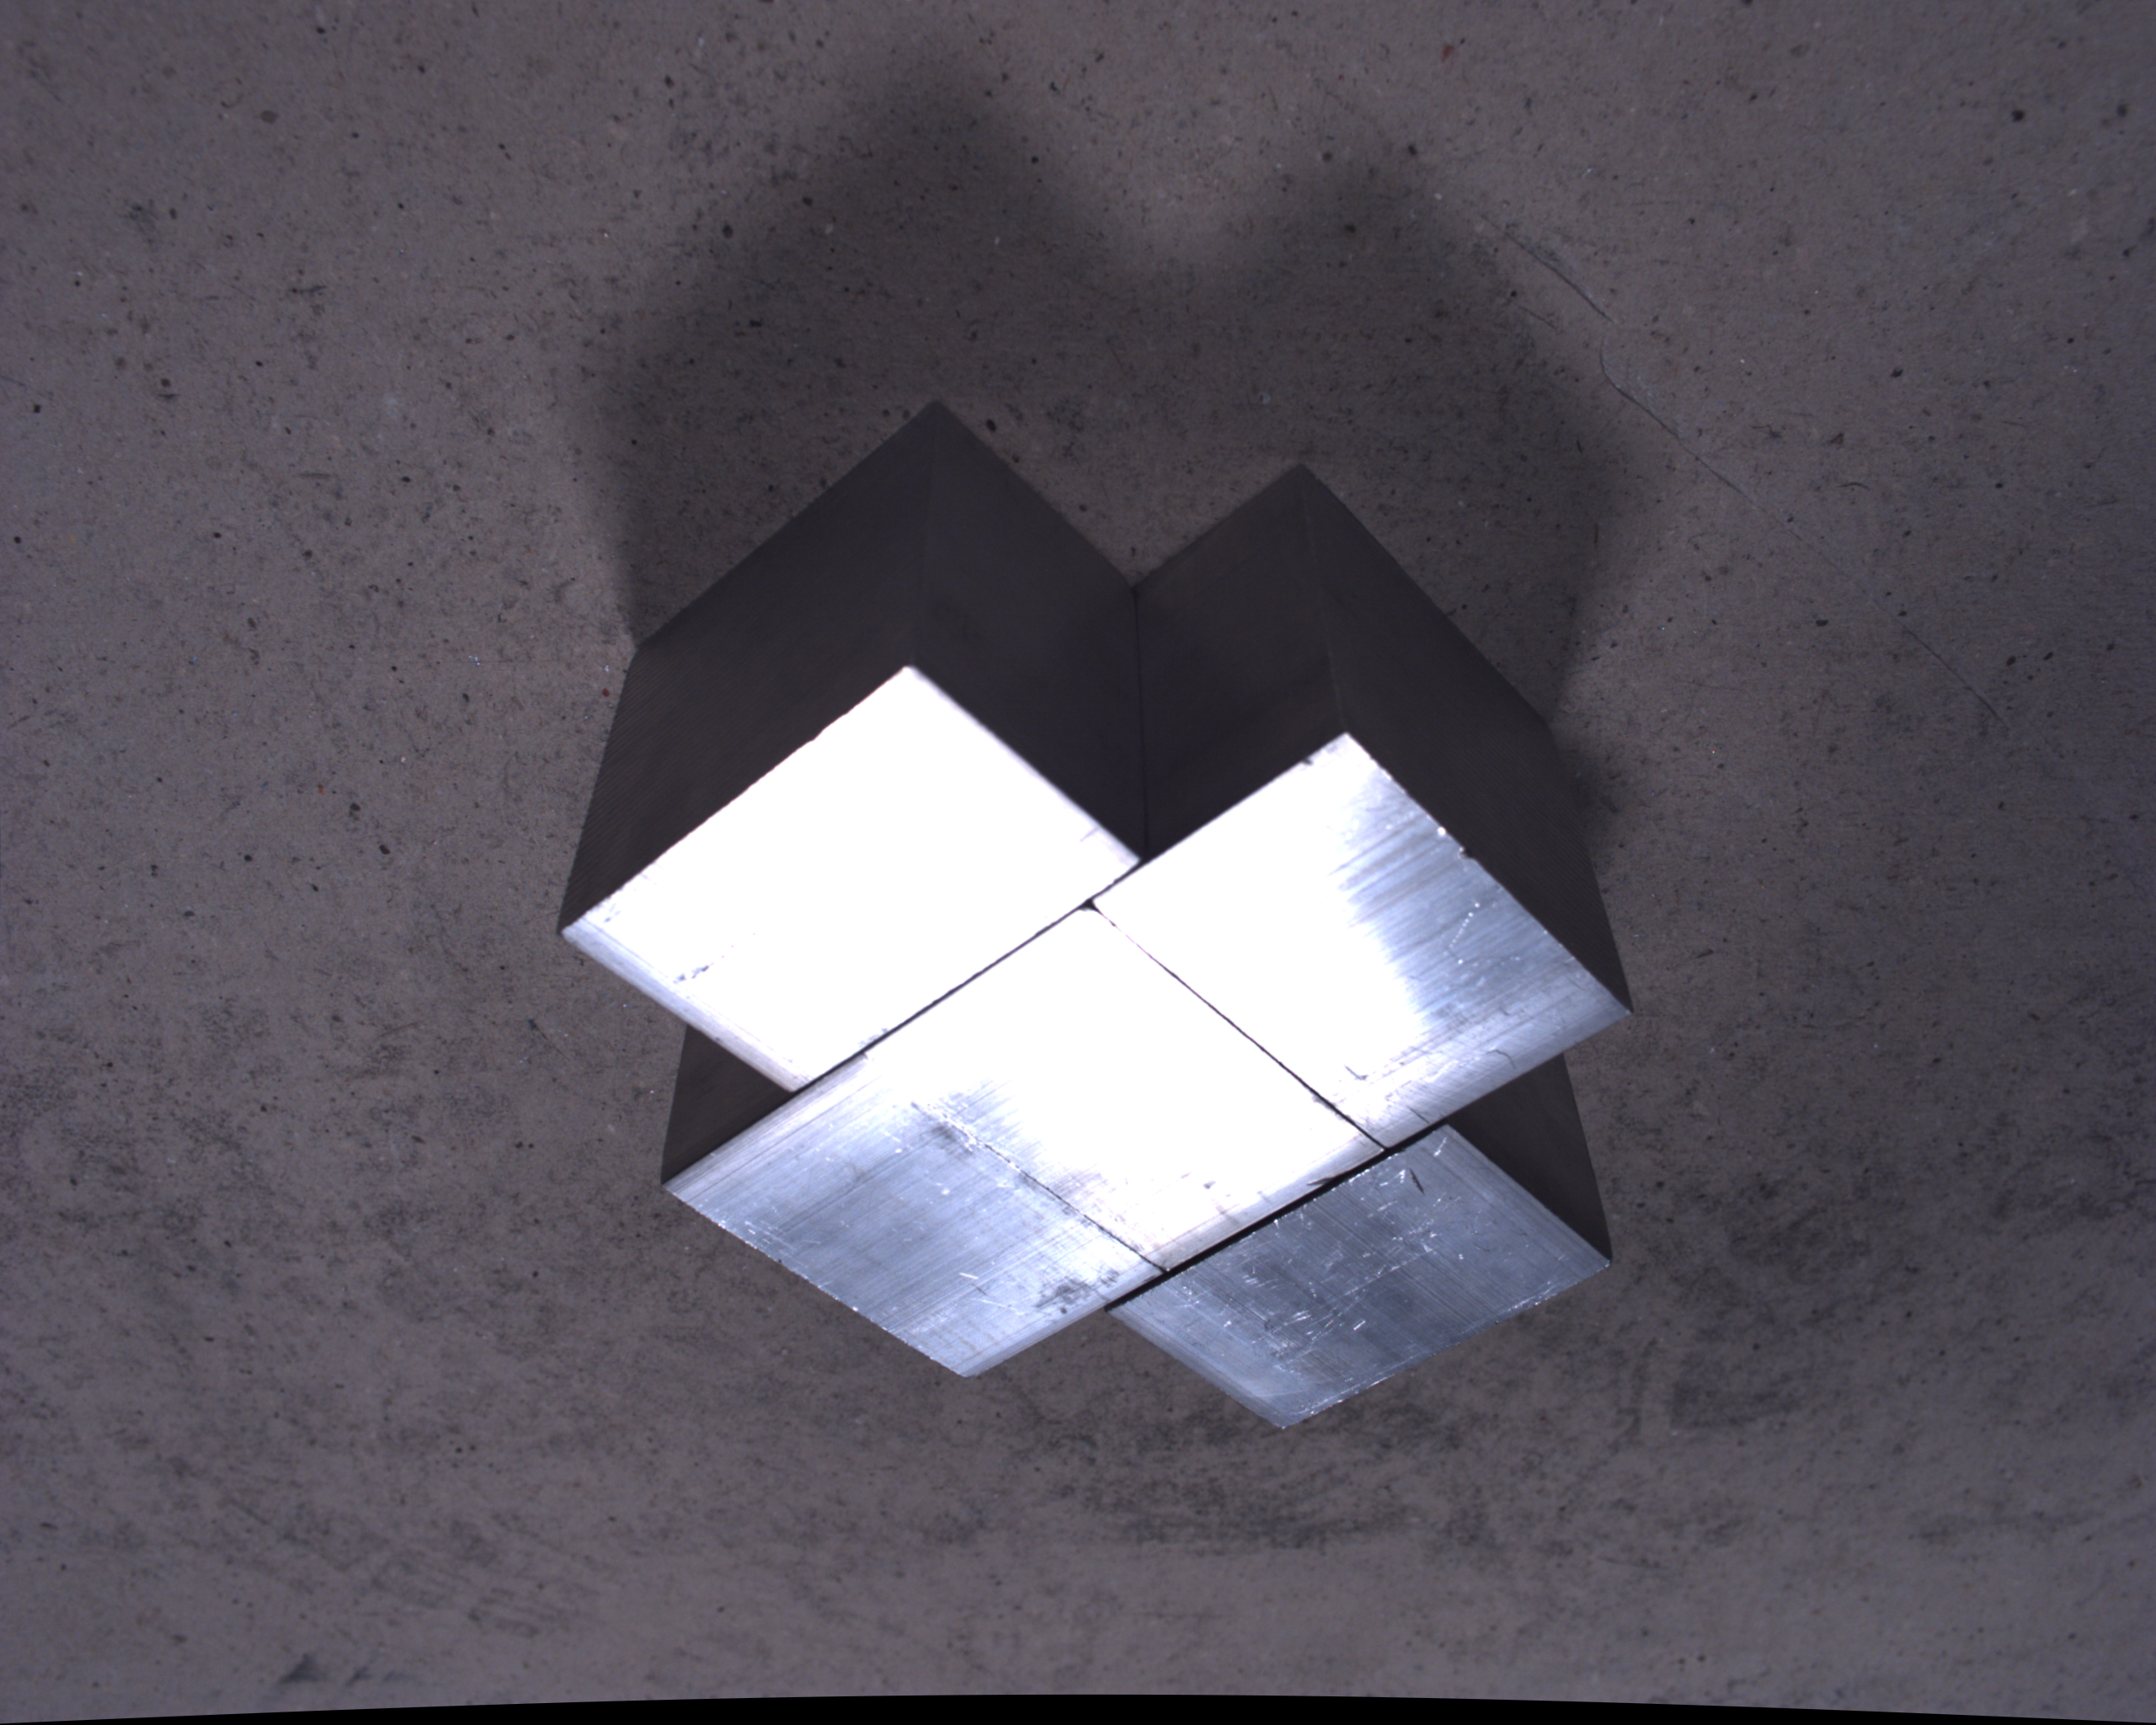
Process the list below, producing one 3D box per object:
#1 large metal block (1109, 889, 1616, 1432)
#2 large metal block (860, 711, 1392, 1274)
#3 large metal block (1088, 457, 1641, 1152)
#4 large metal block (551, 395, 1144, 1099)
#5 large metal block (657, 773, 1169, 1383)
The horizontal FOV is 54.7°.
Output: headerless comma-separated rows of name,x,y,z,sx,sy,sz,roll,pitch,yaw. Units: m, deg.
large metal block,0.052,0.054,0.420,0.080,0.080,0.050,-34,122,25
large metal block,0.009,0.015,0.387,0.050,0.080,0.080,-35,122,25
large metal block,0.047,-0.010,0.365,0.050,0.080,0.080,-35,122,25
large metal block,-0.037,-0.020,0.356,0.080,0.080,0.050,-34,122,25
large metal block,-0.029,0.041,0.408,0.050,0.080,0.080,-35,122,25
